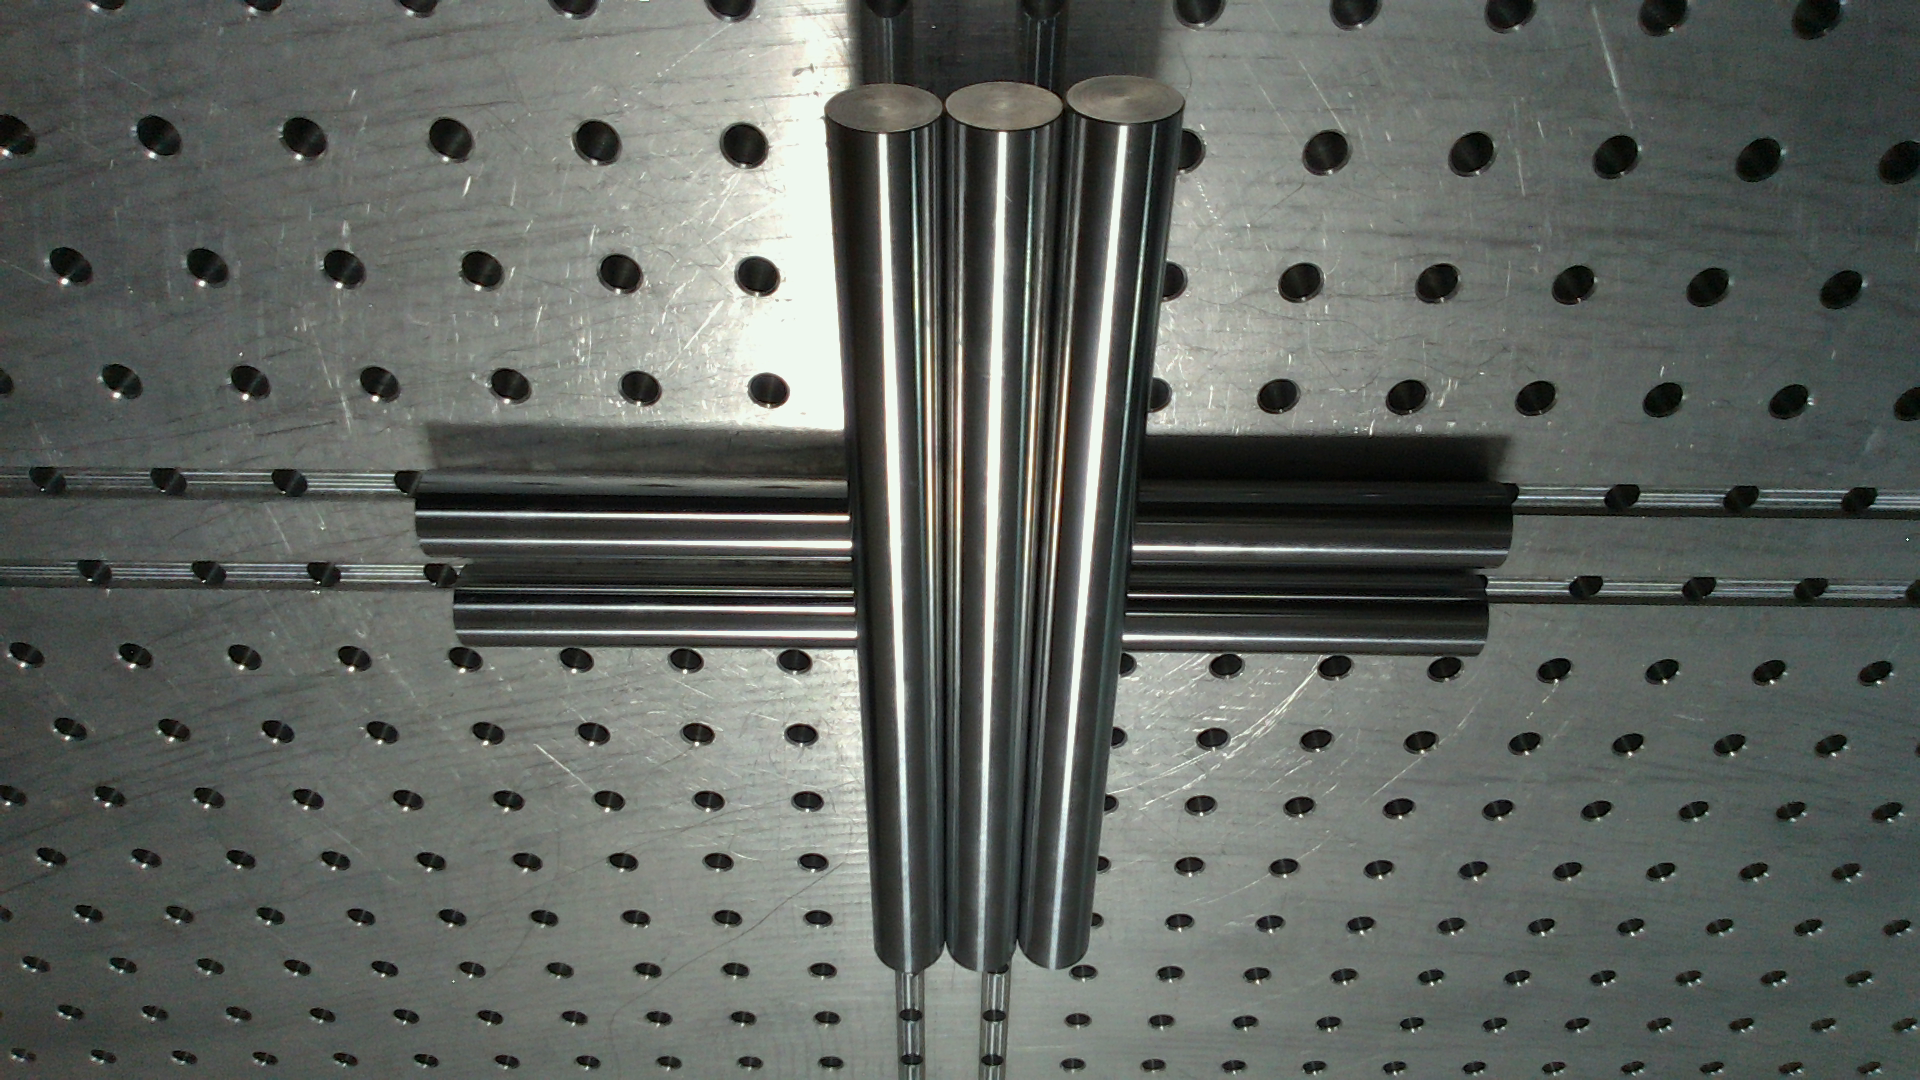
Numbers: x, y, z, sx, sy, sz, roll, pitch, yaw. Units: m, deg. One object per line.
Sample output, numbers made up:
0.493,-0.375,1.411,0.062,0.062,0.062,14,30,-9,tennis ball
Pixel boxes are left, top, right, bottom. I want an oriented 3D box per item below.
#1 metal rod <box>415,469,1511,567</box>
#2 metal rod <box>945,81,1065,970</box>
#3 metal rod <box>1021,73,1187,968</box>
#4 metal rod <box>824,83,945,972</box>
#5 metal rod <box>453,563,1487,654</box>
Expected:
0.001,-0.006,0.389,0.300,0.025,0.025,1,130,-1,metal rod
0.009,0.024,0.382,0.025,0.025,0.300,0,130,0,metal rod
0.033,0.023,0.381,0.025,0.025,0.300,0,130,0,metal rod
-0.016,0.025,0.382,0.025,0.025,0.300,0,130,0,metal rod
0.004,0.021,0.411,0.300,0.025,0.025,1,130,-1,metal rod
